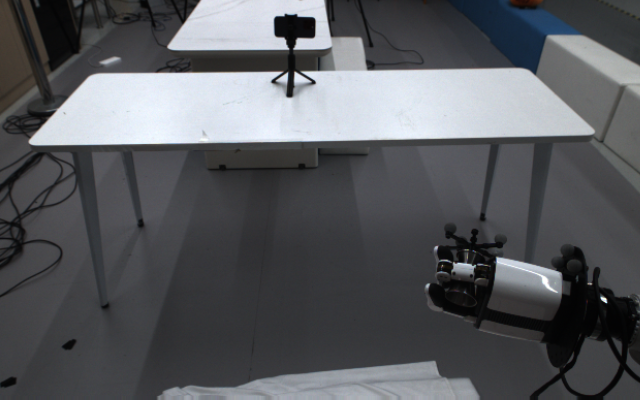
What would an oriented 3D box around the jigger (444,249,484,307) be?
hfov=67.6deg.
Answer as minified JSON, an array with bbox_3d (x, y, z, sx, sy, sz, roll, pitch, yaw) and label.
[{"bbox_3d":[0.206,0.107,0.672,0.043,0.043,0.071,13,57,15],"label":"jigger"}]
